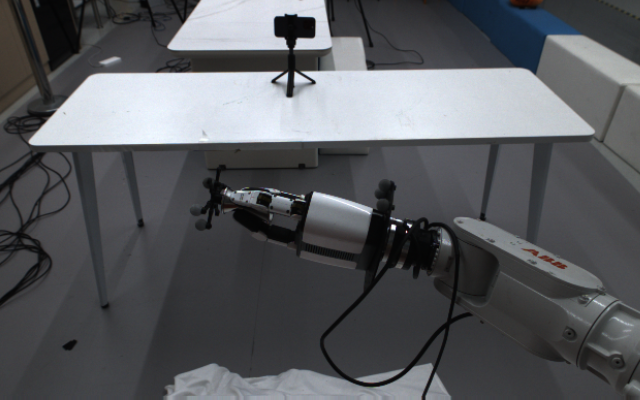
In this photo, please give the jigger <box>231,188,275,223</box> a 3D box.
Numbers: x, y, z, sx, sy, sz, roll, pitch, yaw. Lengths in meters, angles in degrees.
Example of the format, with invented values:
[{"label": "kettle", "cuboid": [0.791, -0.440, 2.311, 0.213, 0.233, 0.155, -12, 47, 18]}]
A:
[{"label": "jigger", "cuboid": [-0.092, 0.003, 0.674, 0.071, 0.043, 0.043, 11, 35, 3]}]
